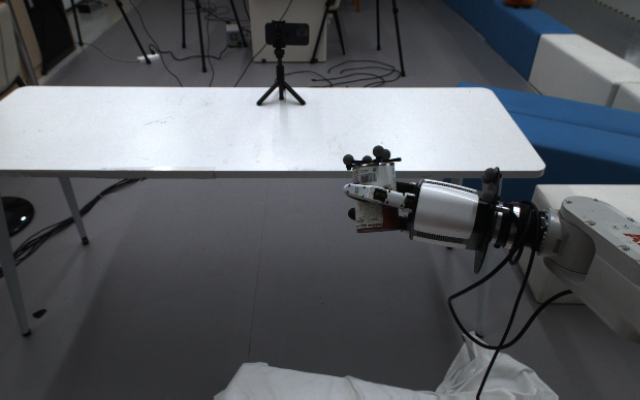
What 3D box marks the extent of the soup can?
[{"bbox_3d":[0.087,-0.002,0.743,0.067,0.101,0.067,-5,-5,0],"label":"soup can"}]
